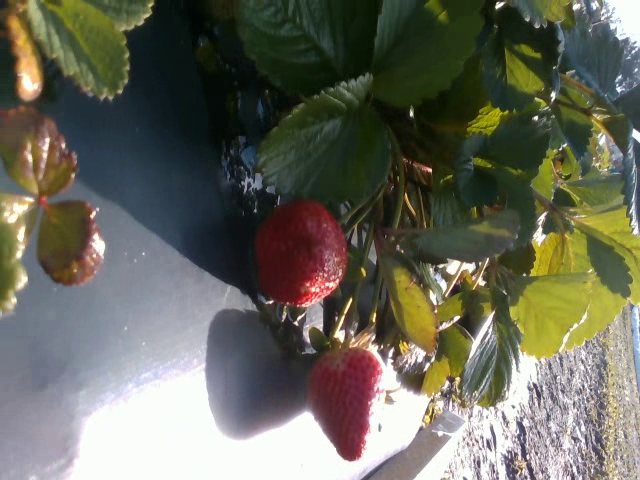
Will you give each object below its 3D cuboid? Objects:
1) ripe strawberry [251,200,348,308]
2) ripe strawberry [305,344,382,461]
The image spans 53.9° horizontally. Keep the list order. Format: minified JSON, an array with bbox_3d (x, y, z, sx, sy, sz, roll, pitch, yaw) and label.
[{"bbox_3d":[-0.006,0.006,0.244,0.039,0.048,0.054,27,-8,0],"label":"ripe strawberry"},{"bbox_3d":[0.015,0.070,0.262,0.038,0.053,0.043,-7,-42,-2],"label":"ripe strawberry"}]
